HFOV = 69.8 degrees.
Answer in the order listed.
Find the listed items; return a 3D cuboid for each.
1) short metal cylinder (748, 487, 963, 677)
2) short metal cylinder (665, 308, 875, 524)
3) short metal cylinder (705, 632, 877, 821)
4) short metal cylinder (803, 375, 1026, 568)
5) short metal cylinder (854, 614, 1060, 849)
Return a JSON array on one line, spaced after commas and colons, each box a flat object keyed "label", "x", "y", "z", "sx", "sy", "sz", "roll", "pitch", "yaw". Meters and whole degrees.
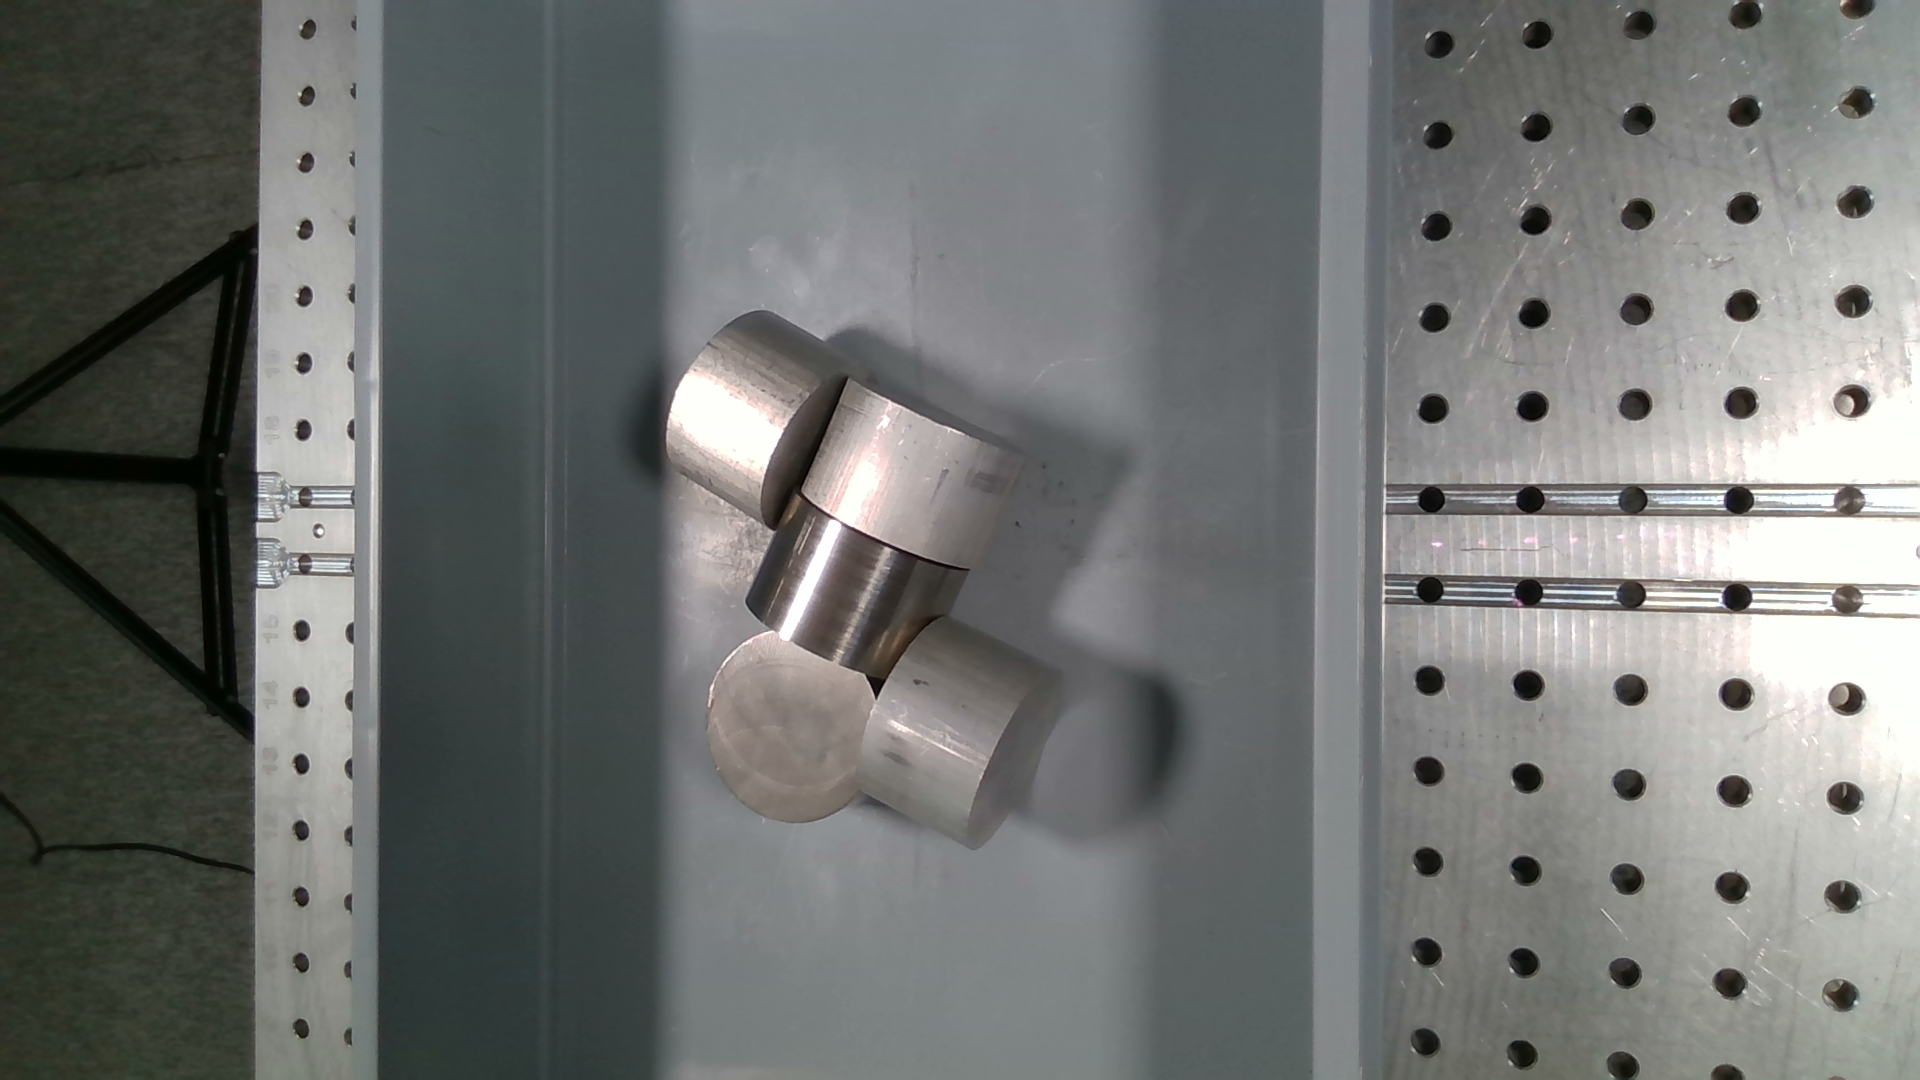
[{"label": "short metal cylinder", "x": -0.042, "y": 0.017, "z": 0.571, "sx": 0.080, "sy": 0.080, "sz": 0.050, "roll": 28, "pitch": 100, "yaw": 18}, {"label": "short metal cylinder", "x": -0.079, "y": -0.051, "z": 0.583, "sx": 0.050, "sy": 0.080, "sz": 0.080, "roll": 31, "pitch": 101, "yaw": 17}, {"label": "short metal cylinder", "x": -0.062, "y": 0.077, "z": 0.594, "sx": 0.080, "sy": 0.050, "sz": 0.080, "roll": 0, "pitch": 90, "yaw": 20}, {"label": "short metal cylinder", "x": -0.019, "y": -0.028, "z": 0.561, "sx": 0.080, "sy": 0.080, "sz": 0.050, "roll": 27, "pitch": 99, "yaw": 18}, {"label": "short metal cylinder", "x": 0.000, "y": 0.077, "z": 0.556, "sx": 0.050, "sy": 0.080, "sz": 0.080, "roll": 25, "pitch": 99, "yaw": 19}]
